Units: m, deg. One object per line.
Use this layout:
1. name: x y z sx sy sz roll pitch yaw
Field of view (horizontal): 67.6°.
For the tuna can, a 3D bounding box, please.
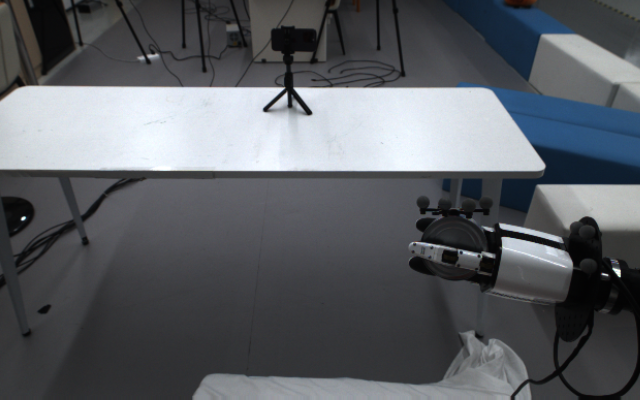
1. tuna can: 0.178 0.059 0.641 0.085 0.085 0.034 15 9 18
